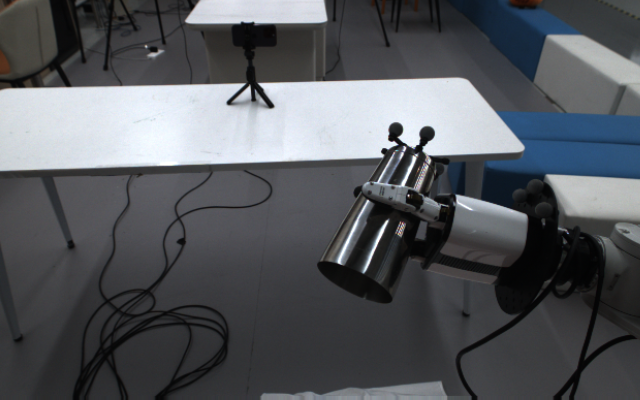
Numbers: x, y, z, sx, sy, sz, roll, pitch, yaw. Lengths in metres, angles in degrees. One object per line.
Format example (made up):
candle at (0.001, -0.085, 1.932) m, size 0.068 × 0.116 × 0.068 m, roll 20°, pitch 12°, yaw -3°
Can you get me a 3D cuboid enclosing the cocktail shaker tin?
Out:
cocktail shaker tin at (0.077, 0.019, 0.562) m, size 0.093 × 0.093 × 0.170 m, roll 18°, pitch 66°, yaw 22°
